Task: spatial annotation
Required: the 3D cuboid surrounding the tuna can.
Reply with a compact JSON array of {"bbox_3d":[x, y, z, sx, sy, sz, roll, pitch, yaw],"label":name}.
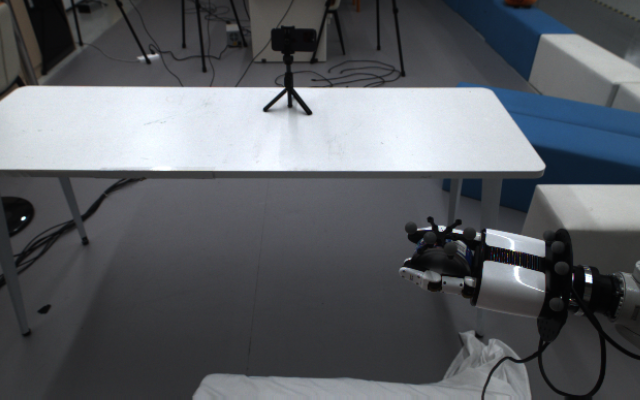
[{"bbox_3d":[0.177,0.087,0.700,0.085,0.085,0.034,14,41,16],"label":"tuna can"}]
